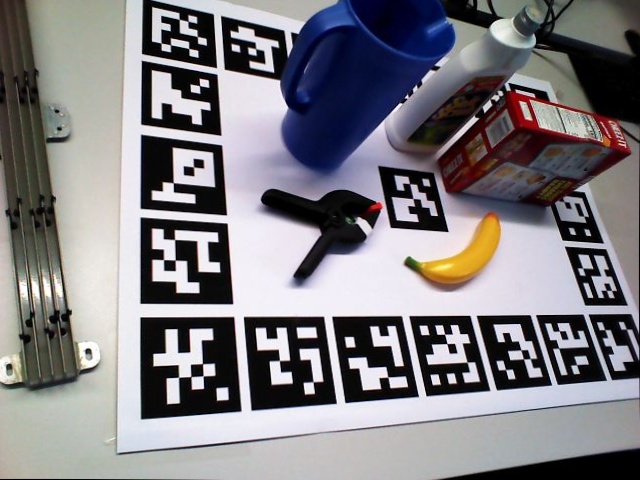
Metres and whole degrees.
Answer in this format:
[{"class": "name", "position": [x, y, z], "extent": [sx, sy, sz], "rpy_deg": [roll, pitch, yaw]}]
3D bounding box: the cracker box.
[{"class": "cracker box", "position": [0.331, -0.126, 0.777], "extent": [0.213, 0.165, 0.071], "rpy_deg": [3, 60, -22]}]

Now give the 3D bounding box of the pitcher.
[{"class": "pitcher", "position": [0.033, -0.192, 0.613], "extent": [0.188, 0.244, 0.133], "rpy_deg": [-17, 72, -34]}]

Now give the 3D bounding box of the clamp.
[{"class": "clamp", "position": [0.014, -0.019, 0.665], "extent": [0.164, 0.037, 0.121], "rpy_deg": [-14, 70, -32]}]

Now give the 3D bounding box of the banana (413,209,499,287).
[{"class": "banana", "position": [0.215, 0.015, 0.752], "extent": [0.196, 0.039, 0.074], "rpy_deg": [-35, 82, -35]}]

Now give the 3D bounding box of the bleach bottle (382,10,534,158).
[{"class": "bleach bottle", "position": [0.190, -0.212, 0.721], "extent": [0.102, 0.252, 0.067], "rpy_deg": [2, 63, -24]}]
